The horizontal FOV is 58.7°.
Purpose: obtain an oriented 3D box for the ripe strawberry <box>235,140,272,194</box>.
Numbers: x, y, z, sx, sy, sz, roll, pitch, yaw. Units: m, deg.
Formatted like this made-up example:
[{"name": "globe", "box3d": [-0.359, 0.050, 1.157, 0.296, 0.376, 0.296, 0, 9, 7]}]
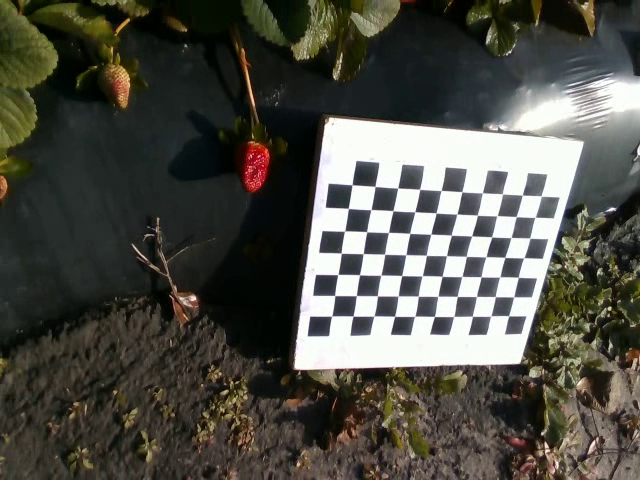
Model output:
[{"name": "ripe strawberry", "box3d": [-0.023, -0.025, 0.185, 0.015, 0.023, 0.015, 10, -33, -20]}]
